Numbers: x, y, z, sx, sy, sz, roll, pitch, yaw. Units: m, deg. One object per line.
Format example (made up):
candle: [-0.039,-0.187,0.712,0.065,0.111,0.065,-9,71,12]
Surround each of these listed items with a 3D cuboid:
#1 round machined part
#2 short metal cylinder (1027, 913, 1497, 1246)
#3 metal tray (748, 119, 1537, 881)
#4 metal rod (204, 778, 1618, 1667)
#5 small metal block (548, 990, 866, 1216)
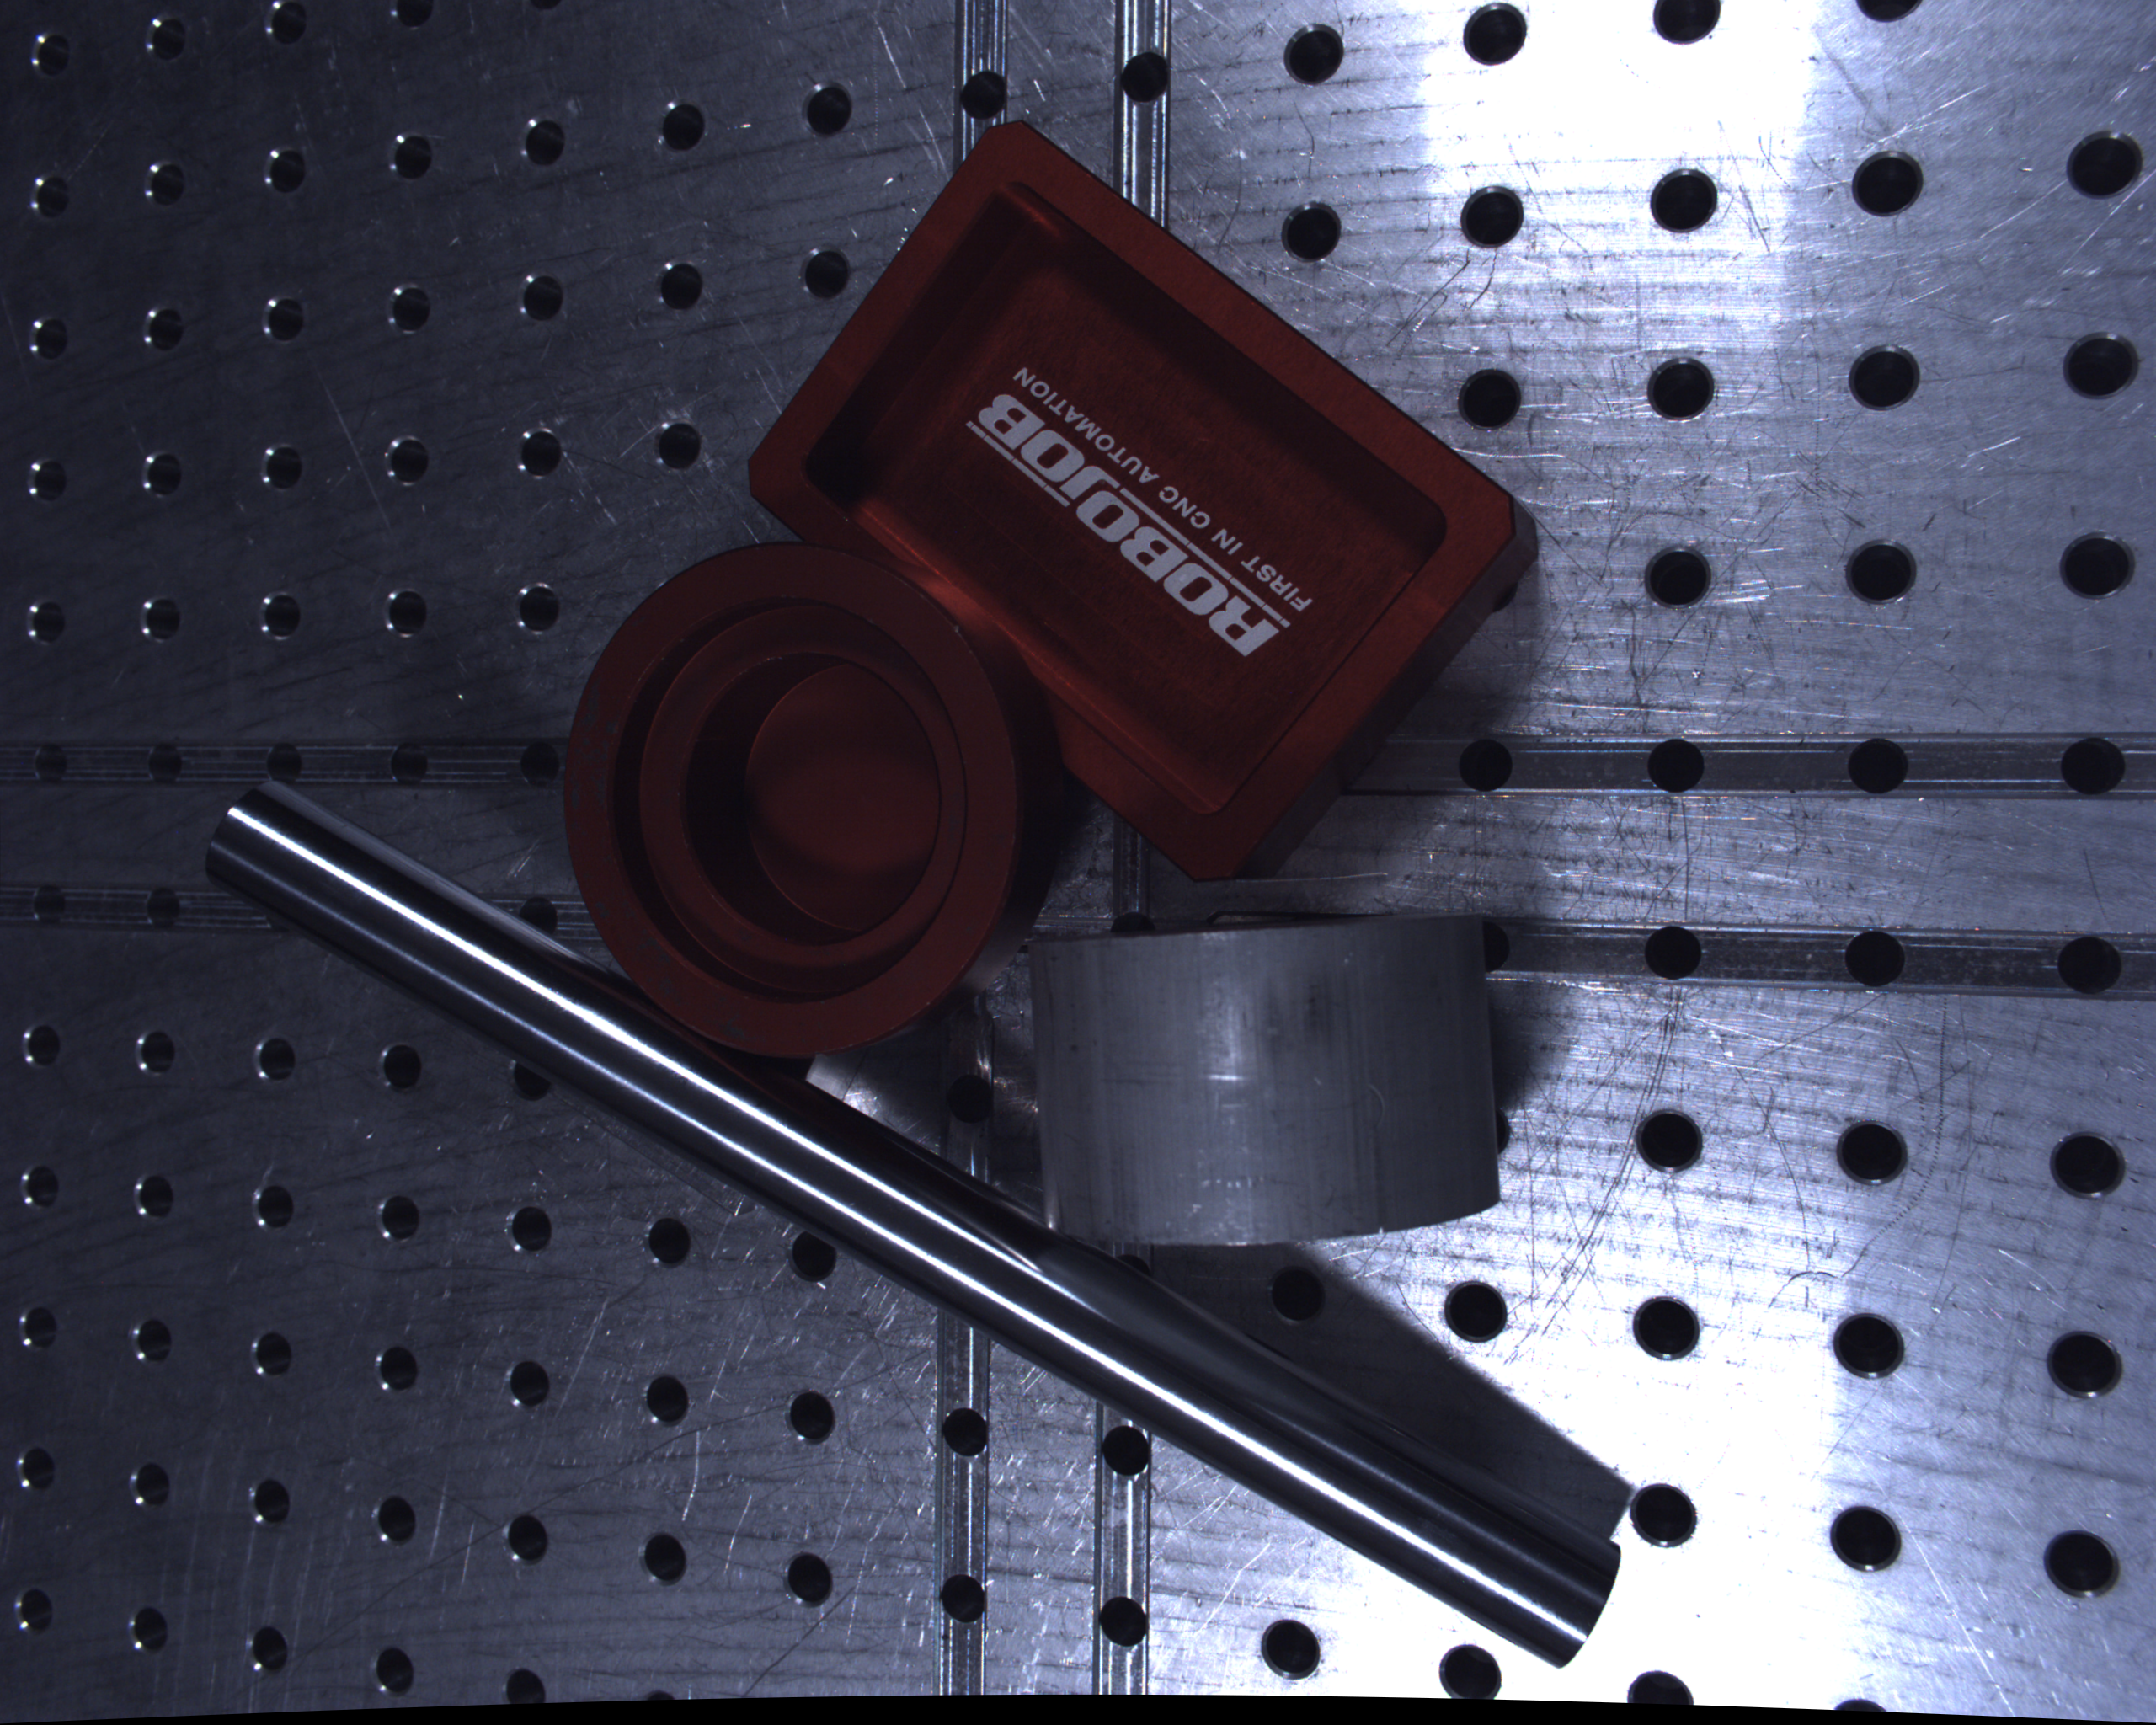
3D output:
round machined part: [-0.048,-0.013,0.411,0.098,0.042,0.097,0,90,21]
short metal cylinder: [0.032,0.036,0.370,0.080,0.080,0.050,-4,89,19]
metal tray: [0.010,-0.069,0.405,0.130,0.030,0.090,42,102,15]
metal rod: [-0.038,0.065,0.403,0.301,0.025,0.025,28,99,8]
small metal block: [-0.075,0.038,0.438,0.050,0.025,0.050,30,99,17]
